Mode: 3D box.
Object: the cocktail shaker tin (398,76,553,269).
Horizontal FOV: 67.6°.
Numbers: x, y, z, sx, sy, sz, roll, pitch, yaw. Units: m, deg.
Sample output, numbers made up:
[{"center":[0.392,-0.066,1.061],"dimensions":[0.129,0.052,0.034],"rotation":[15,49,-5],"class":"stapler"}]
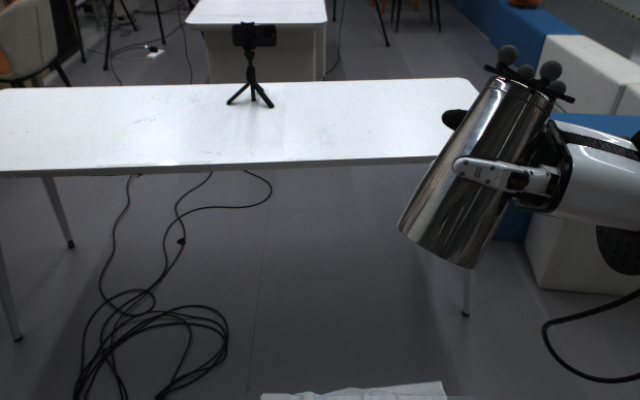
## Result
[{"center":[0.158,-0.031,0.478],"dimensions":[0.093,0.170,0.093],"rotation":[24,12,-6],"class":"cocktail shaker tin"}]
